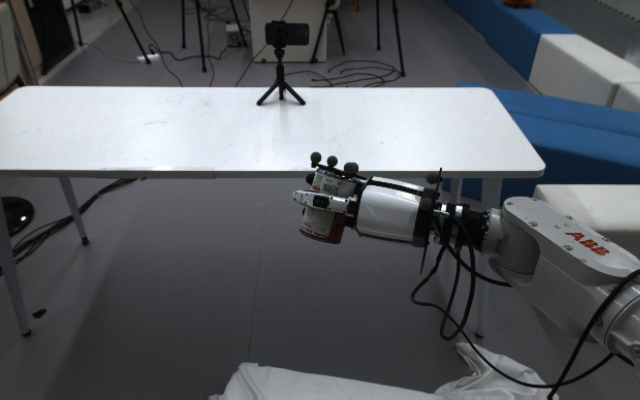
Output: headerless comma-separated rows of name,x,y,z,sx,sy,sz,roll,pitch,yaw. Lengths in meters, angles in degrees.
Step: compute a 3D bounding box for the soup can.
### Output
soup can,0.014,0.009,0.745,0.067,0.101,0.067,15,7,-2
